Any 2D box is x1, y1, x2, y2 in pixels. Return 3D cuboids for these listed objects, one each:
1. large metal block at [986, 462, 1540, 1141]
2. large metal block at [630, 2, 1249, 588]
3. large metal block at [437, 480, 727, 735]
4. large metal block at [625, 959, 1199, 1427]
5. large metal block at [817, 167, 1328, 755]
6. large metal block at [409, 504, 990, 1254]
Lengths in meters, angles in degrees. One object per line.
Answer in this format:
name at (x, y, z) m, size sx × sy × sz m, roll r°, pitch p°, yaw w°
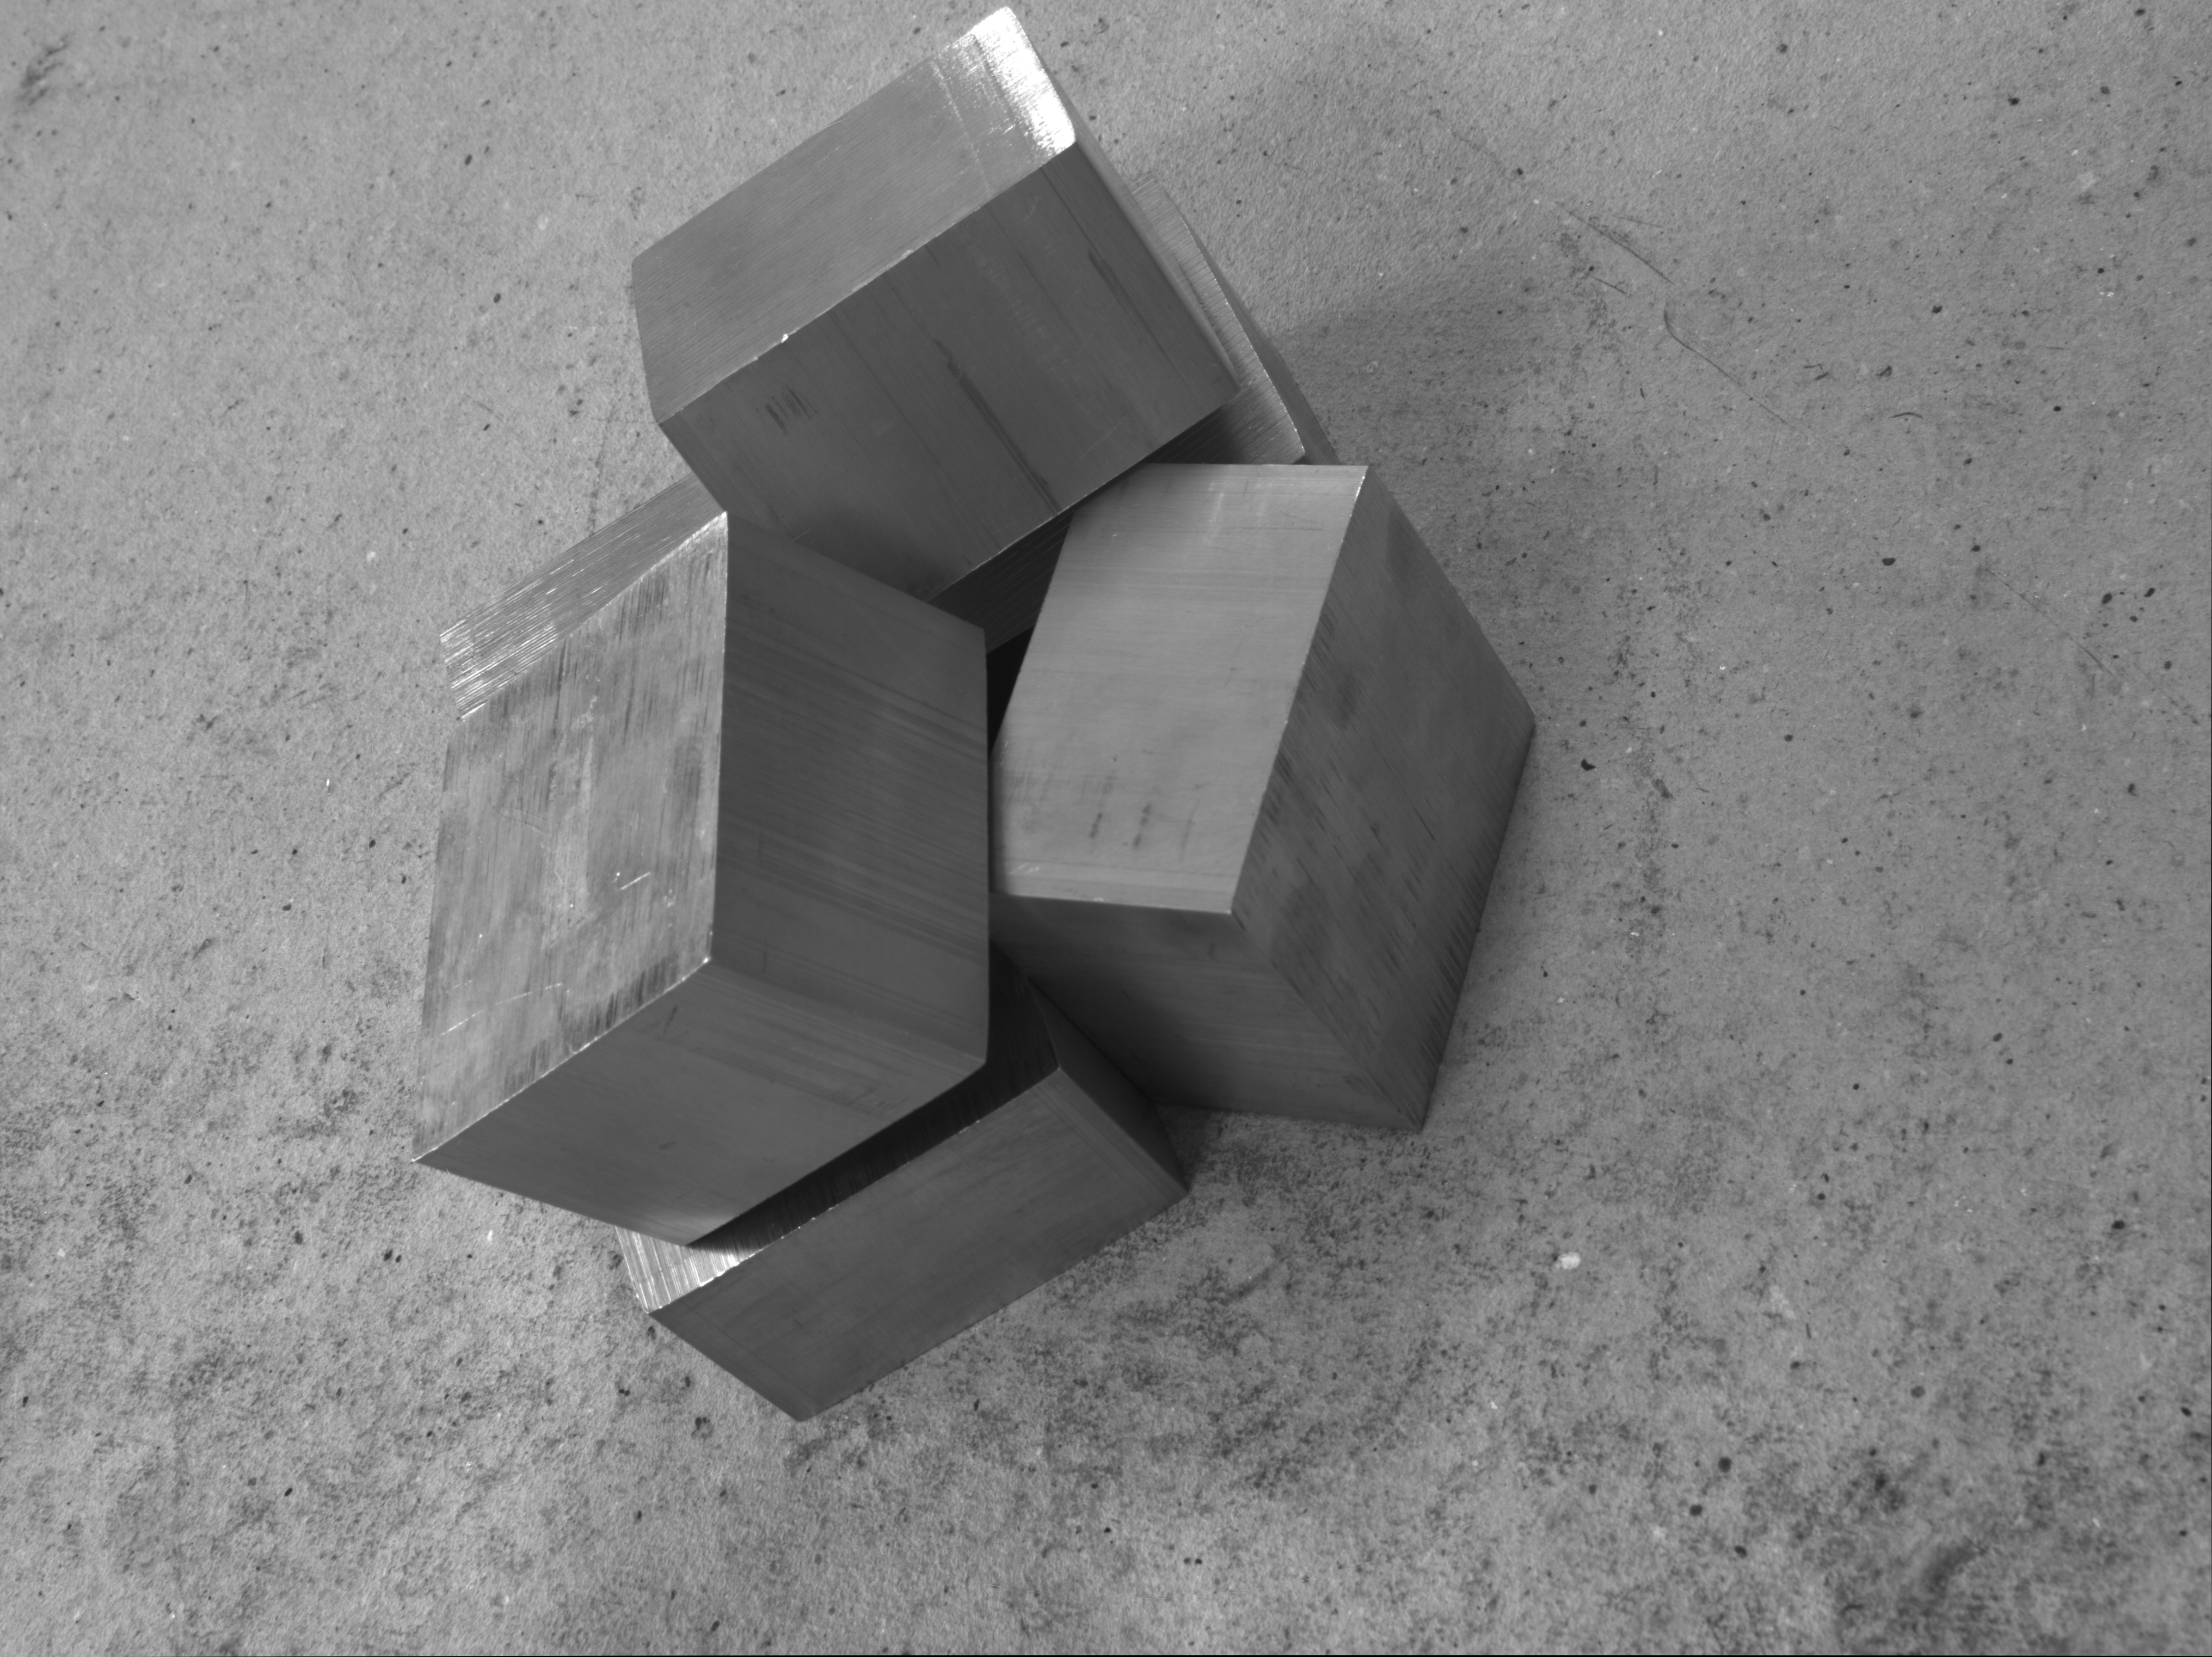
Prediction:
large metal block at (0.025, -0.004, 0.599) m, size 0.050 × 0.080 × 0.080 m, roll 3°, pitch 63°, yaw 30°
large metal block at (-0.030, -0.085, 0.612) m, size 0.080 × 0.050 × 0.080 m, roll -32°, pitch 28°, yaw 7°
large metal block at (-0.068, -0.016, 0.676) m, size 0.080 × 0.050 × 0.080 m, roll -31°, pitch 52°, yaw 8°
large metal block at (-0.042, 0.041, 0.627) m, size 0.080 × 0.050 × 0.080 m, roll -31°, pitch 51°, yaw 8°
large metal block at (-0.002, -0.059, 0.664) m, size 0.080 × 0.050 × 0.080 m, roll -31°, pitch 51°, yaw 7°
large metal block at (-0.063, 0.010, 0.573) m, size 0.080 × 0.050 × 0.080 m, roll -33°, pitch 47°, yaw 39°
